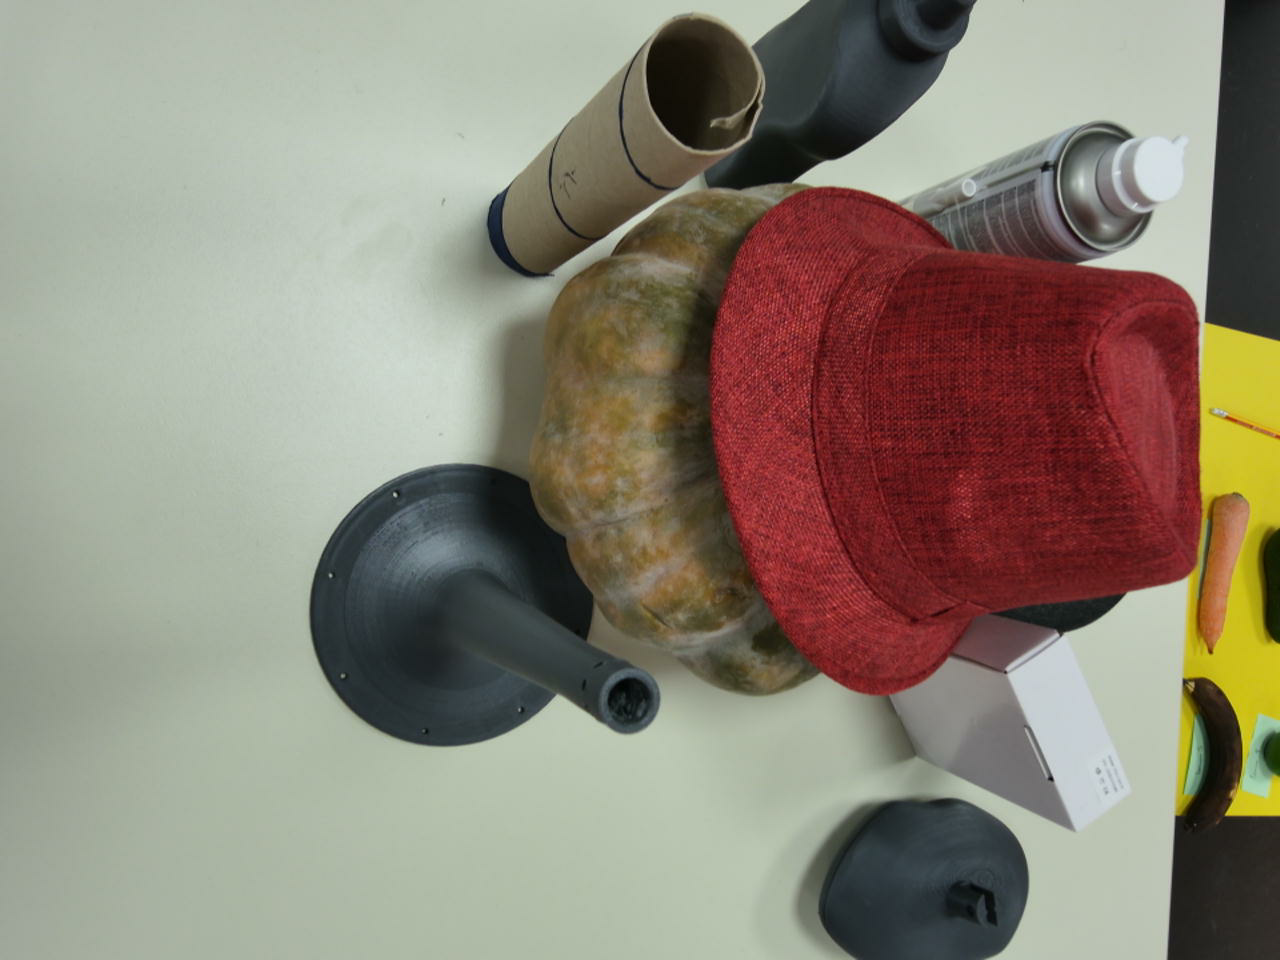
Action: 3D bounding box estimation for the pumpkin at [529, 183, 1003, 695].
[{"bbox_3d":[0.063,-0.026,0.507,0.252,0.169,0.252,0,91,-22],"label":"pumpkin"}]
